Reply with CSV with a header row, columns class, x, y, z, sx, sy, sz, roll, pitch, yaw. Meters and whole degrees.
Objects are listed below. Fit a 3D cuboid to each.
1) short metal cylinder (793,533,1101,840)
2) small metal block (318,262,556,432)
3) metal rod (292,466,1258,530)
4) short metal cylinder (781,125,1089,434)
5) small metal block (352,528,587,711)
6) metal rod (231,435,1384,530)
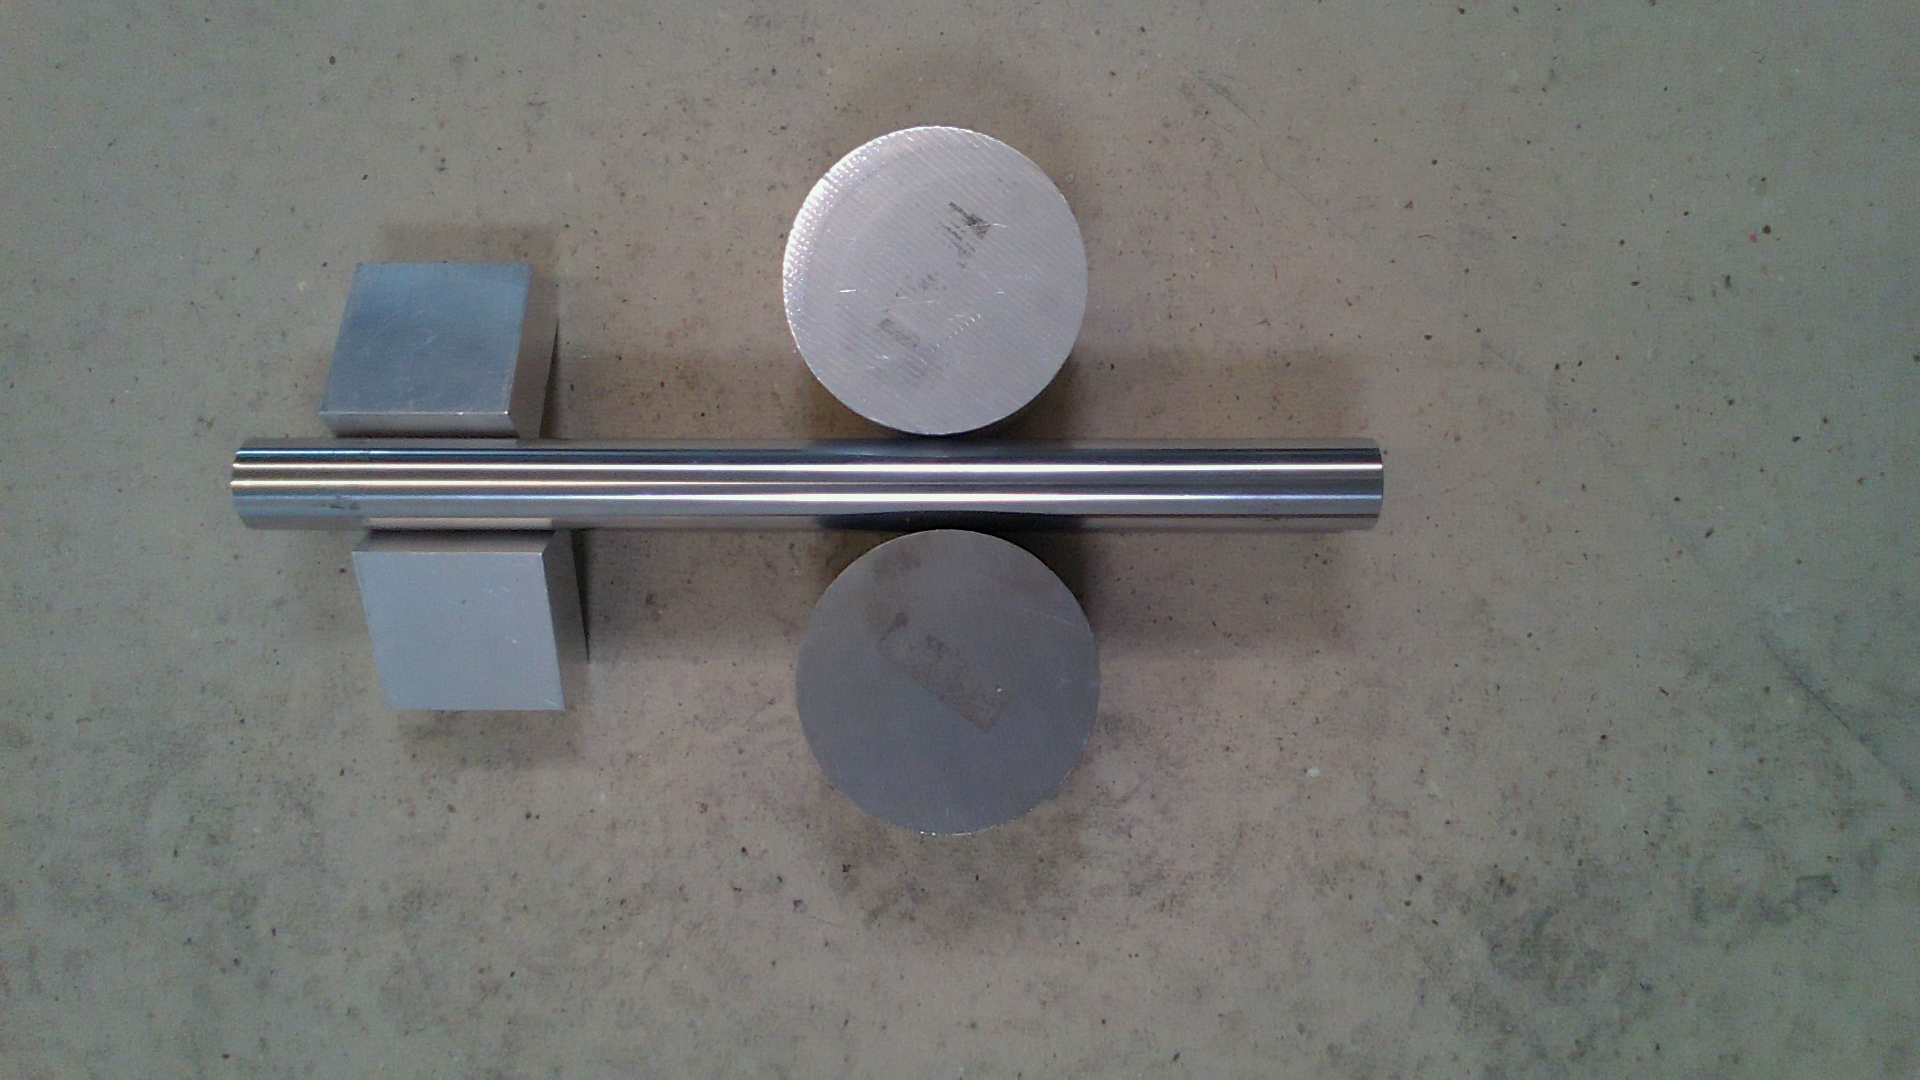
class,x,y,z,sx,sy,sz,roll,pitch,yaw
short metal cylinder,-0.003,0.038,0.383,0.080,0.050,0.080,0,90,0
small metal block,-0.144,-0.050,0.385,0.050,0.025,0.050,0,63,0
metal rod,-0.040,-0.015,0.395,0.300,0.025,0.025,0,90,0
short metal cylinder,-0.006,-0.068,0.382,0.080,0.050,0.080,0,90,0
small metal block,-0.135,0.020,0.385,0.050,0.025,0.050,0,117,-1
metal rod,-0.040,-0.016,0.370,0.300,0.025,0.025,0,90,0
